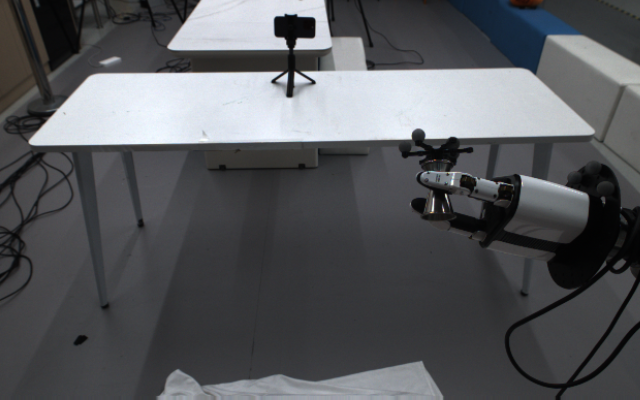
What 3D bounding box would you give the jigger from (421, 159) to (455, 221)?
[{"bbox_3d":[0.146,-0.013,0.602,0.043,0.043,0.071,3,76,1],"label":"jigger"}]
